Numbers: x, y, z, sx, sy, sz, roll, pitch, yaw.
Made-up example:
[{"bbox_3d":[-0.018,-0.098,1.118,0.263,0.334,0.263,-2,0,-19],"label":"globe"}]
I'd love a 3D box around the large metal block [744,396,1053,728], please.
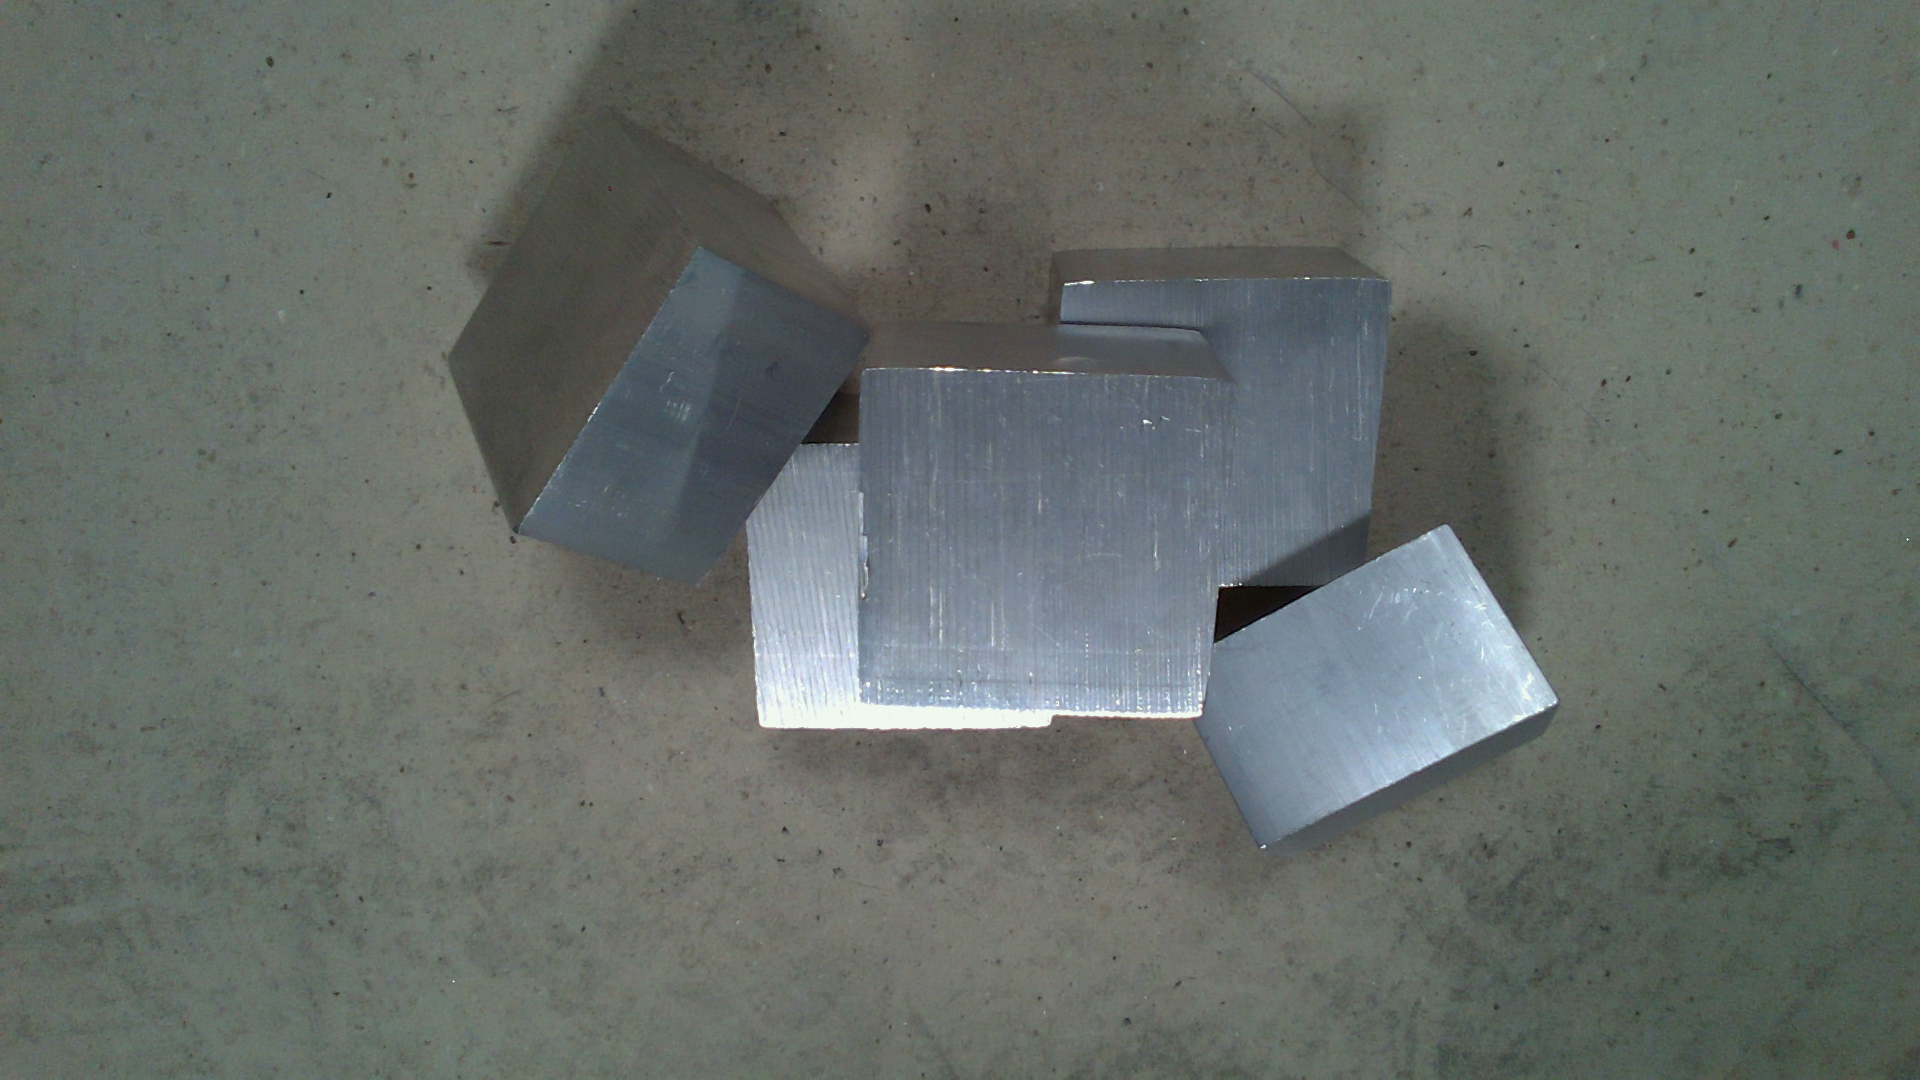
[{"bbox_3d":[-0.015,0.005,0.380,0.080,0.050,0.080,0,110,0],"label":"large metal block"}]

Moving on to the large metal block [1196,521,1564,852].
[{"bbox_3d":[0.110,0.045,0.375,0.080,0.080,0.050,-30,69,10],"label":"large metal block"}]

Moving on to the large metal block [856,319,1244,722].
[{"bbox_3d":[0.018,-0.006,0.323,0.080,0.050,0.080,2,110,-1],"label":"large metal block"}]

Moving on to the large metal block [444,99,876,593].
[{"bbox_3d":[-0.077,-0.048,0.339,0.050,0.080,0.080,22,113,-43],"label":"large metal block"}]

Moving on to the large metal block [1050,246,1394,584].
[{"bbox_3d":[0.065,-0.035,0.369,0.080,0.050,0.080,0,110,0],"label":"large metal block"}]
